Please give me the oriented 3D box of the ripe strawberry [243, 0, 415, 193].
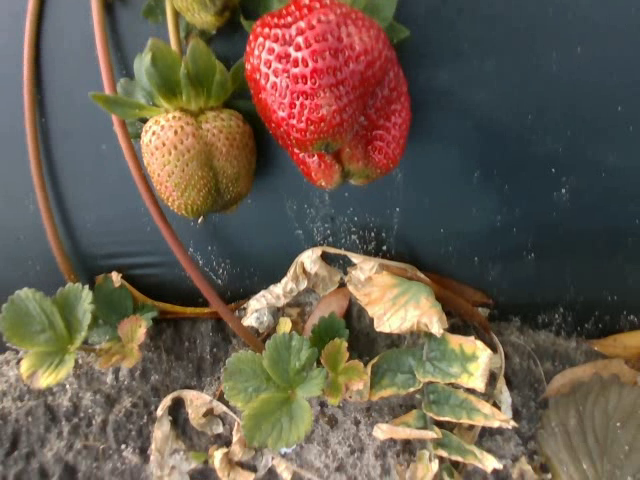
[{"bbox_3d":[-0.001,-0.042,0.177,0.066,0.075,0.053,-17,20,12],"label":"ripe strawberry"}]
